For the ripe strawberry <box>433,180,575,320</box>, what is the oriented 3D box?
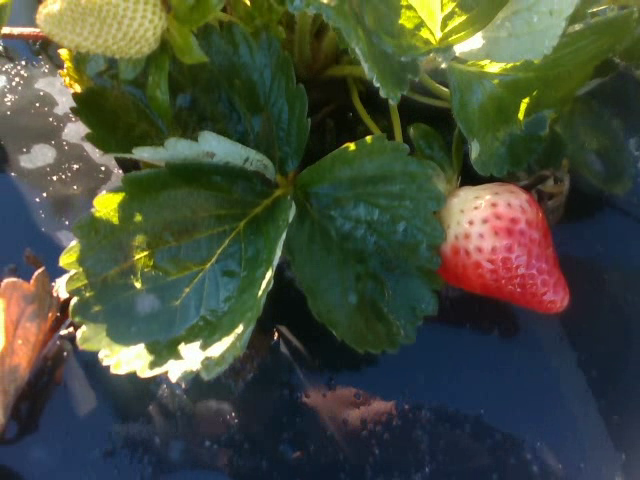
[{"bbox_3d":[0.069,0.008,0.217,0.040,0.065,0.040,-42,2,-8],"label":"ripe strawberry"}]
